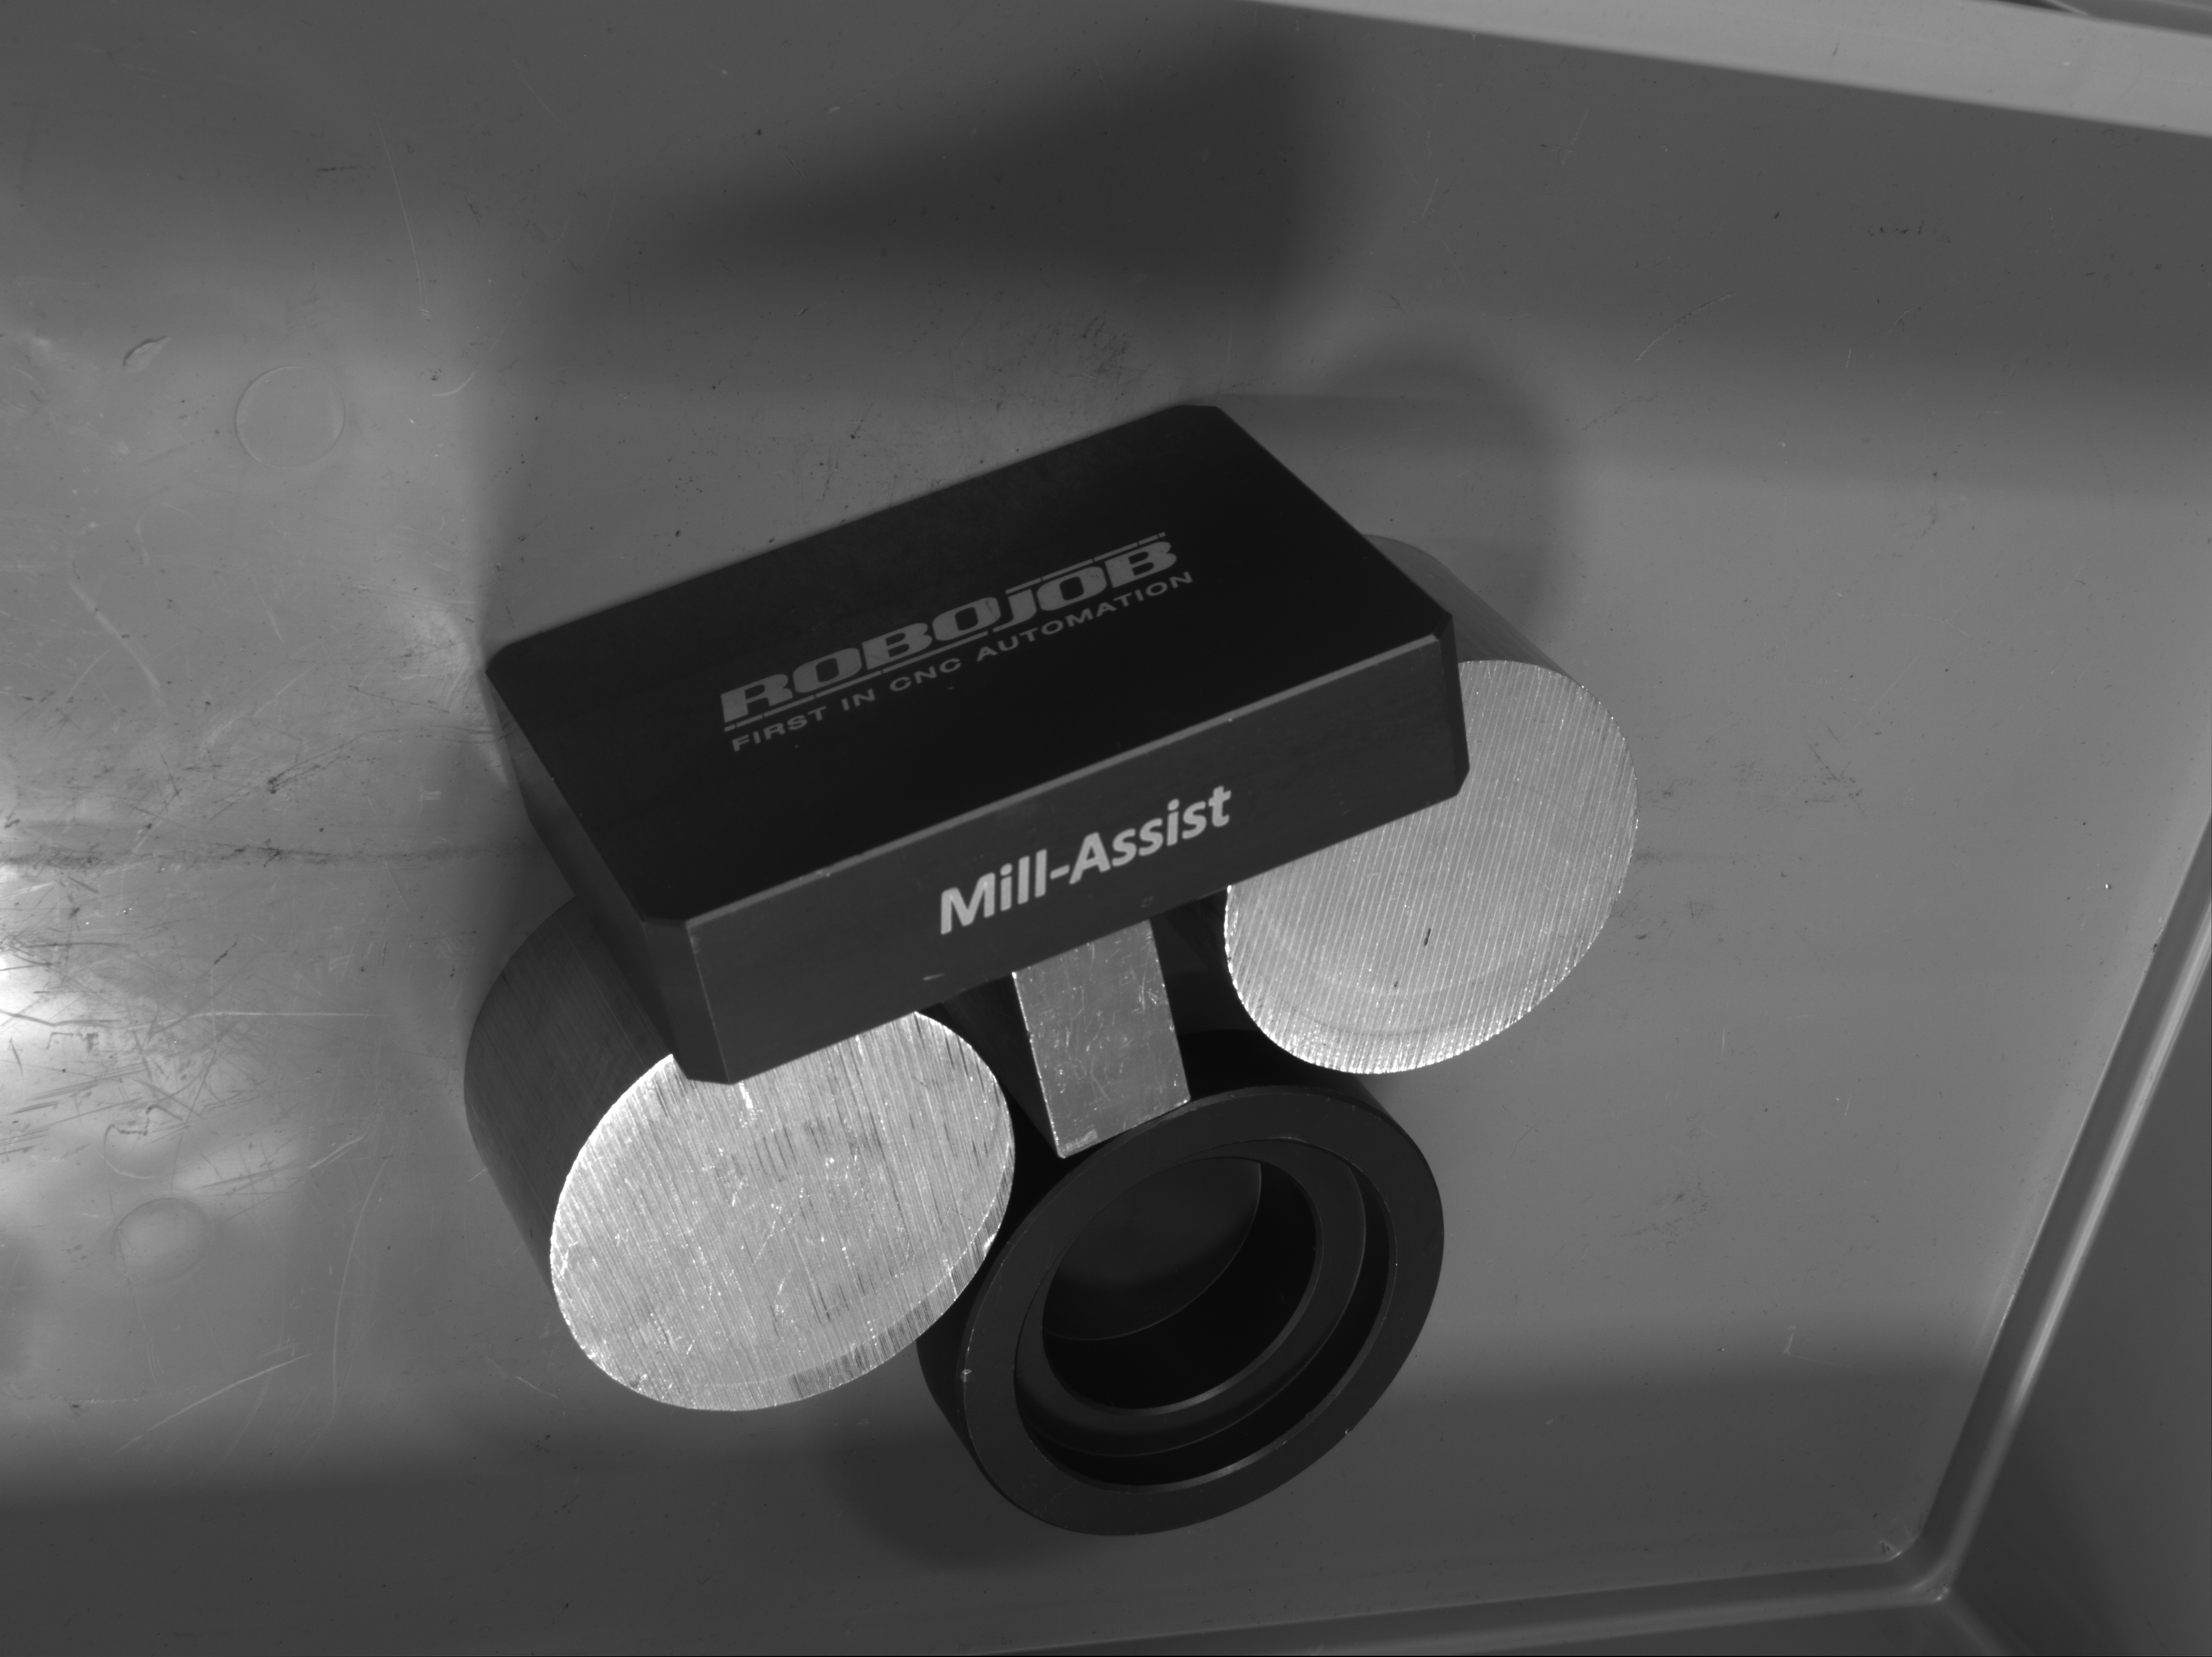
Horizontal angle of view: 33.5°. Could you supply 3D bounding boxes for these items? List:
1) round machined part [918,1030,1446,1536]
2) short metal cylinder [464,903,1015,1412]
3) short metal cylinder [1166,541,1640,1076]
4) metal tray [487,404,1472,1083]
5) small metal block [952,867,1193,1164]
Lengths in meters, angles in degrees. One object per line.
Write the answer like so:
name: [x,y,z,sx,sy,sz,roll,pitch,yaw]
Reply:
round machined part: [0.010,0.079,0.678,0.098,0.042,0.098,-13,124,-21]
short metal cylinder: [-0.062,0.051,0.617,0.080,0.050,0.080,-13,124,-21]
short metal cylinder: [0.046,-0.004,0.642,0.080,0.050,0.080,-13,124,-21]
metal tray: [-0.021,-0.017,0.572,0.130,0.090,0.030,-21,126,-15]
small metal block: [-0.011,0.020,0.625,0.025,0.050,0.050,-23,127,-14]
